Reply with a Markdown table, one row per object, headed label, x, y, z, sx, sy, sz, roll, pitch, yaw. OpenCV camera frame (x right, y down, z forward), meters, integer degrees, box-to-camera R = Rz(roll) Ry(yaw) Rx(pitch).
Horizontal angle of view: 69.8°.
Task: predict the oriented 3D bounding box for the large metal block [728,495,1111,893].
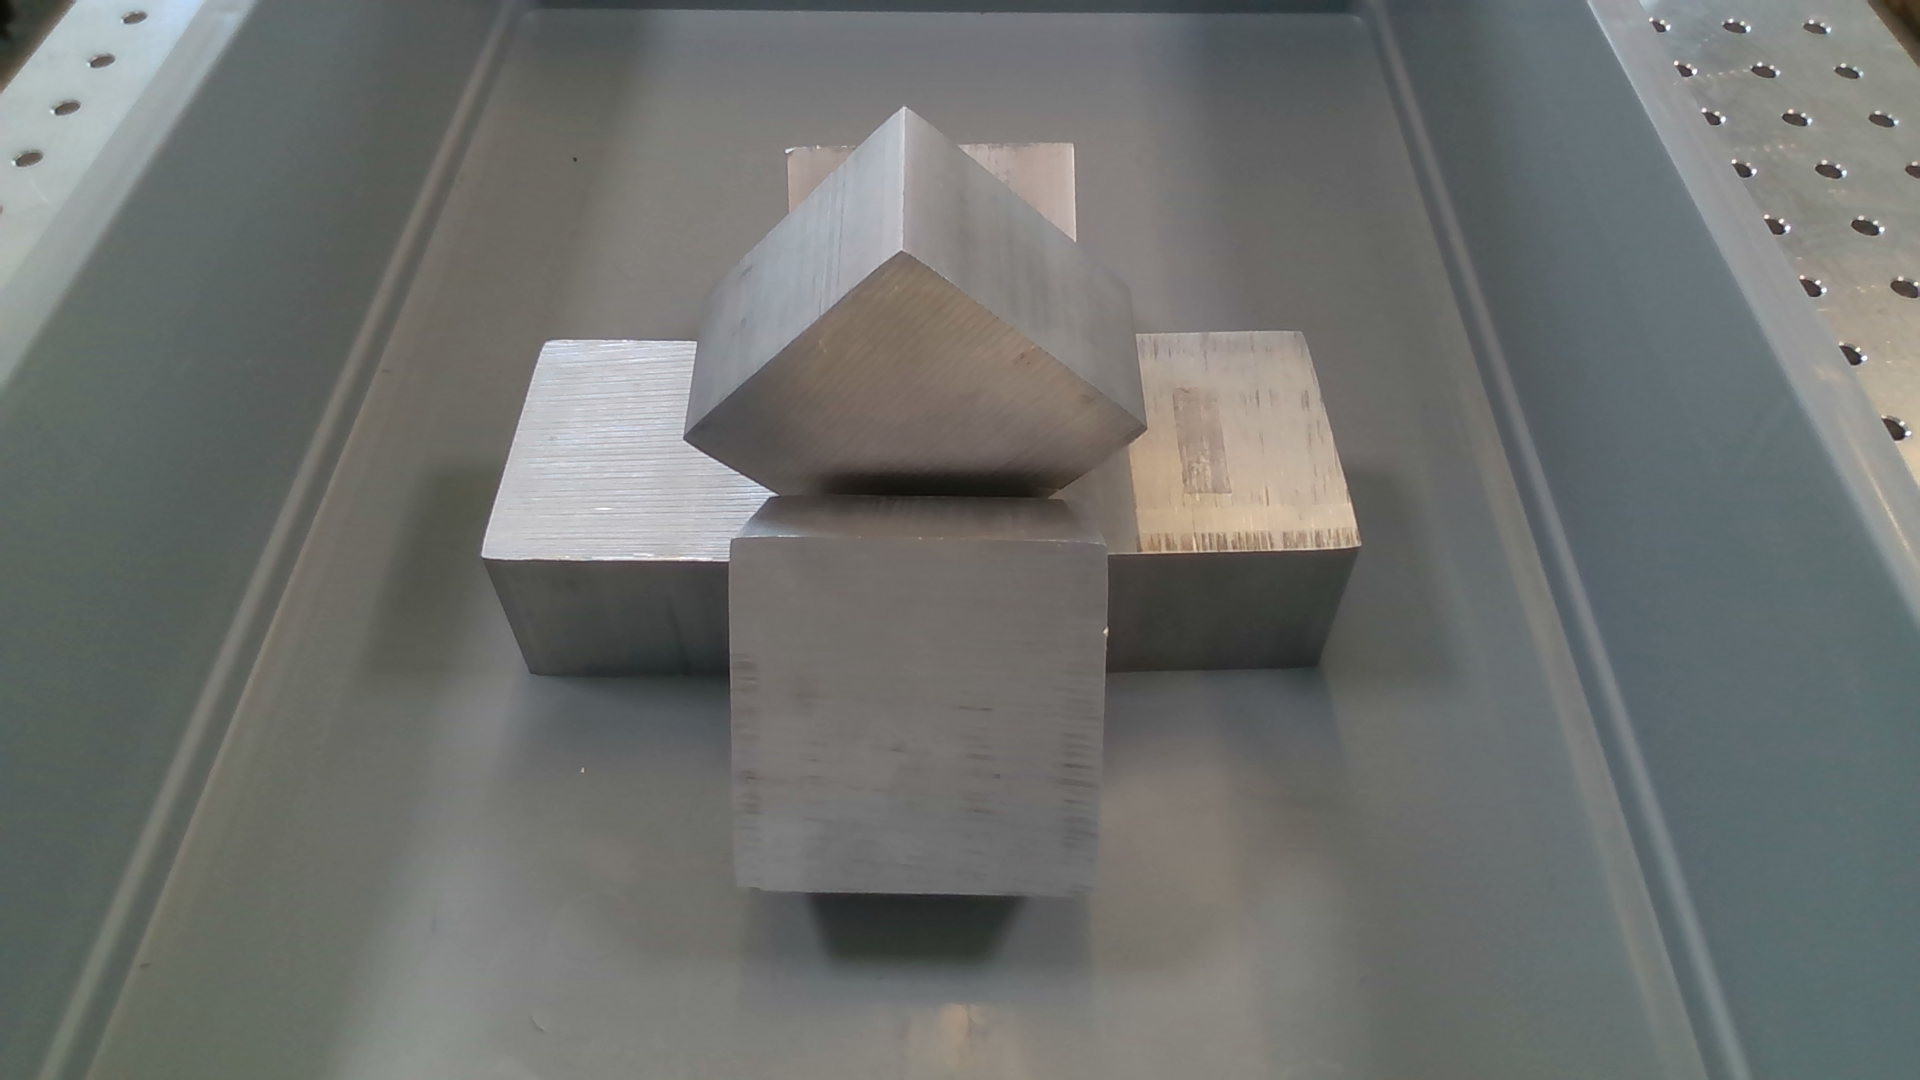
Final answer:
| label | x | y | z | sx | sy | sz | roll | pitch | yaw |
| --- | --- | --- | --- | --- | --- | --- | --- | --- | --- |
| large metal block | -0.008 | 0.033 | 0.320 | 0.080 | 0.080 | 0.050 | 0 | 12 | 1 |

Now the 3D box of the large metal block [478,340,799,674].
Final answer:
| label | x | y | z | sx | sy | sz | roll | pitch | yaw |
| --- | --- | --- | --- | --- | --- | --- | --- | --- | --- |
| large metal block | -0.079 | -0.010 | 0.385 | 0.080 | 0.050 | 0.080 | 0 | 50 | 0 |

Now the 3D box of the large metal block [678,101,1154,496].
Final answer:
| label | x | y | z | sx | sy | sz | roll | pitch | yaw |
| --- | --- | --- | --- | --- | --- | --- | --- | --- | --- |
| large metal block | -0.011 | -0.045 | 0.343 | 0.080 | 0.080 | 0.050 | 30 | 42 | -33 |

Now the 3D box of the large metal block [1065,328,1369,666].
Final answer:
| label | x | y | z | sx | sy | sz | roll | pitch | yaw |
| --- | --- | --- | --- | --- | --- | --- | --- | --- | --- |
| large metal block | 0.060 | -0.013 | 0.383 | 0.080 | 0.050 | 0.080 | -1 | 50 | -1 |

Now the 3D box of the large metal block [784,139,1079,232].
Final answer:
| label | x | y | z | sx | sy | sz | roll | pitch | yaw |
| --- | --- | --- | --- | --- | --- | --- | --- | --- | --- |
| large metal block | -0.008 | -0.081 | 0.415 | 0.080 | 0.080 | 0.050 | -1 | 86 | -1 |
